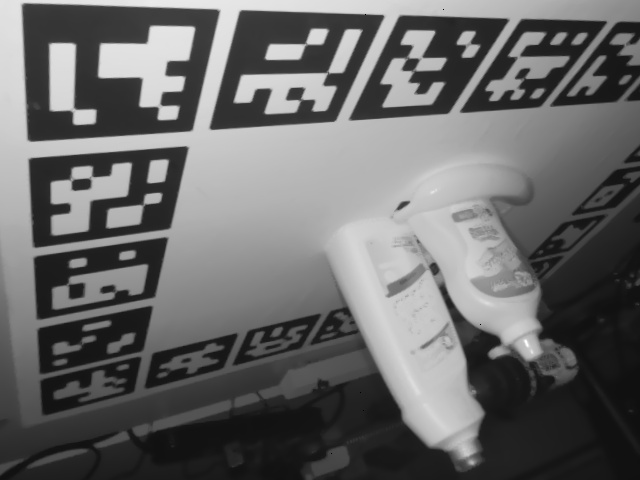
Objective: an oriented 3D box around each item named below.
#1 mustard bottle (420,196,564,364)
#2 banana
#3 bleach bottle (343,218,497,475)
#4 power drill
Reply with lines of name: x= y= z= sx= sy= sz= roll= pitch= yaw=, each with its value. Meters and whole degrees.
mustard bottle: x=0.180 y=0.036 z=0.681 sx=0.097 sy=0.191 sz=0.057 roll=-6 pitch=143 yaw=-27
banana: x=0.175 y=-0.051 z=0.715 sx=0.200 sy=0.039 sz=0.073 roll=-6 pitch=142 yaw=-33
bleach bottle: x=0.110 y=0.099 z=0.676 sx=0.104 sy=0.251 sz=0.067 roll=-5 pitch=148 yaw=-29
power drill: x=0.203 y=0.091 z=0.739 sx=0.187 sy=0.187 sz=0.056 roll=3 pitch=139 yaw=-36
